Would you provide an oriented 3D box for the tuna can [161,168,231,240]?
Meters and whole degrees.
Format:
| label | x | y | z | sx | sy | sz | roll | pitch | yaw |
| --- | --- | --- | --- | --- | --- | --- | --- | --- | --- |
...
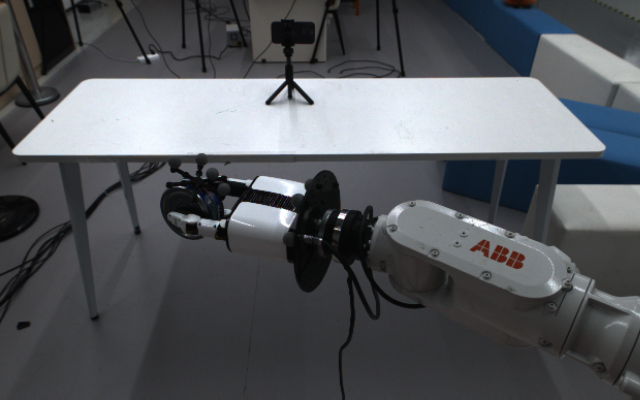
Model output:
| label | x | y | z | sx | sy | sz | roll | pitch | yaw |
| --- | --- | --- | --- | --- | --- | --- | --- | --- | --- |
| tuna can | -0.179 | 0.013 | 0.680 | 0.085 | 0.085 | 0.034 | 15 | 30 | 18 |
